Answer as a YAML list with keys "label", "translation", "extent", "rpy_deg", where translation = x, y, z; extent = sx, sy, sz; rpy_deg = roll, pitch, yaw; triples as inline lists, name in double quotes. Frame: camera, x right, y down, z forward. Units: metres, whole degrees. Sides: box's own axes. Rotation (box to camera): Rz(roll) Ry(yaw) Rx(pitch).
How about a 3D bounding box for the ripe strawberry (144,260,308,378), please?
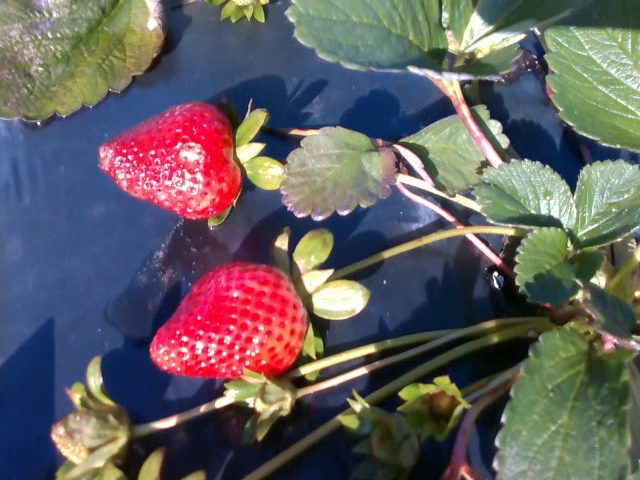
- label: "ripe strawberry"
  translation: [-0.027, 0.024, 0.166]
  extent: [0.049, 0.039, 0.042]
  rpy_deg: [-15, 16, -37]

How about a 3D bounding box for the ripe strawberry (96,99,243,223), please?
- label: "ripe strawberry"
  translation: [-0.053, -0.029, 0.209]
  extent: [0.050, 0.051, 0.045]
  rpy_deg: [5, -27, -22]
